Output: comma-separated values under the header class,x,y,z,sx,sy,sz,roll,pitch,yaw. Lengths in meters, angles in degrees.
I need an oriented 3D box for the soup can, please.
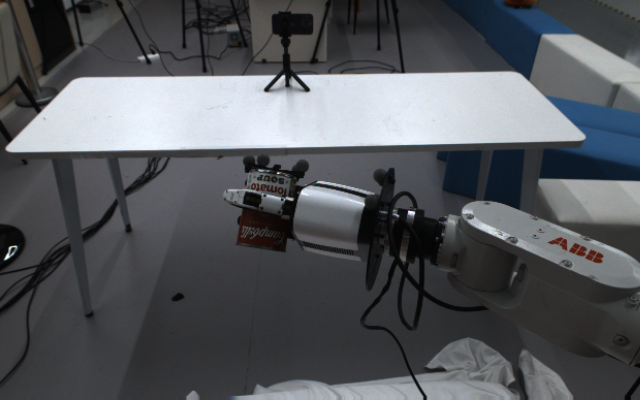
class,x,y,z,sx,sy,sz,roll,pitch,yaw
soup can,-0.070,0.016,0.647,0.067,0.101,0.067,9,-6,1
